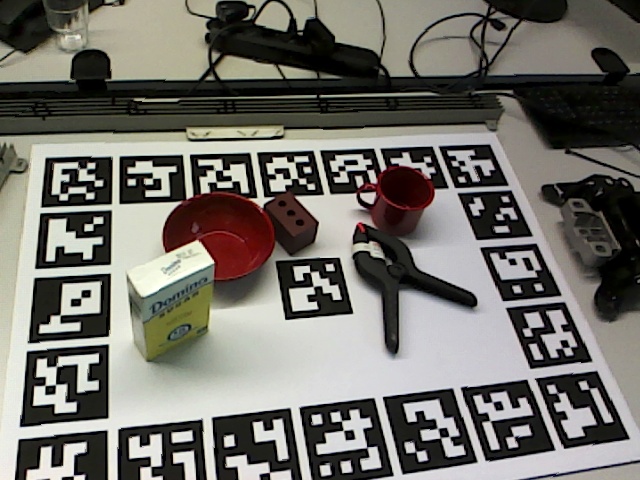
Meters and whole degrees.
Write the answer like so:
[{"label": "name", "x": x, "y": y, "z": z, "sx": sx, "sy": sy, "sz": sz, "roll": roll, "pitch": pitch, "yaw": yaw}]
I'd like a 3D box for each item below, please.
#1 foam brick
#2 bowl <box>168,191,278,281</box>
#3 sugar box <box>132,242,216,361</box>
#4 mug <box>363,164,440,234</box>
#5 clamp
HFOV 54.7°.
[{"label": "foam brick", "x": -0.038, "y": -0.022, "z": 0.973, "sx": 0.052, "sy": 0.051, "sz": 0.078, "roll": -29, "pitch": 65, "yaw": -26}, {"label": "bowl", "x": -0.145, "y": 0.004, "z": 0.927, "sx": 0.161, "sy": 0.055, "sz": 0.162, "roll": 5, "pitch": 54, "yaw": -7}, {"label": "sugar box", "x": -0.184, "y": 0.083, "z": 0.789, "sx": 0.092, "sy": 0.176, "sz": 0.045, "roll": -26, "pitch": 65, "yaw": -27}, {"label": "mug", "x": 0.126, "y": -0.067, "z": 1.005, "sx": 0.117, "sy": 0.081, "sz": 0.093, "roll": 19, "pitch": 54, "yaw": 0}, {"label": "clamp", "x": 0.115, "y": 0.050, "z": 0.942, "sx": 0.165, "sy": 0.036, "sz": 0.204, "roll": -26, "pitch": 63, "yaw": -23}]
